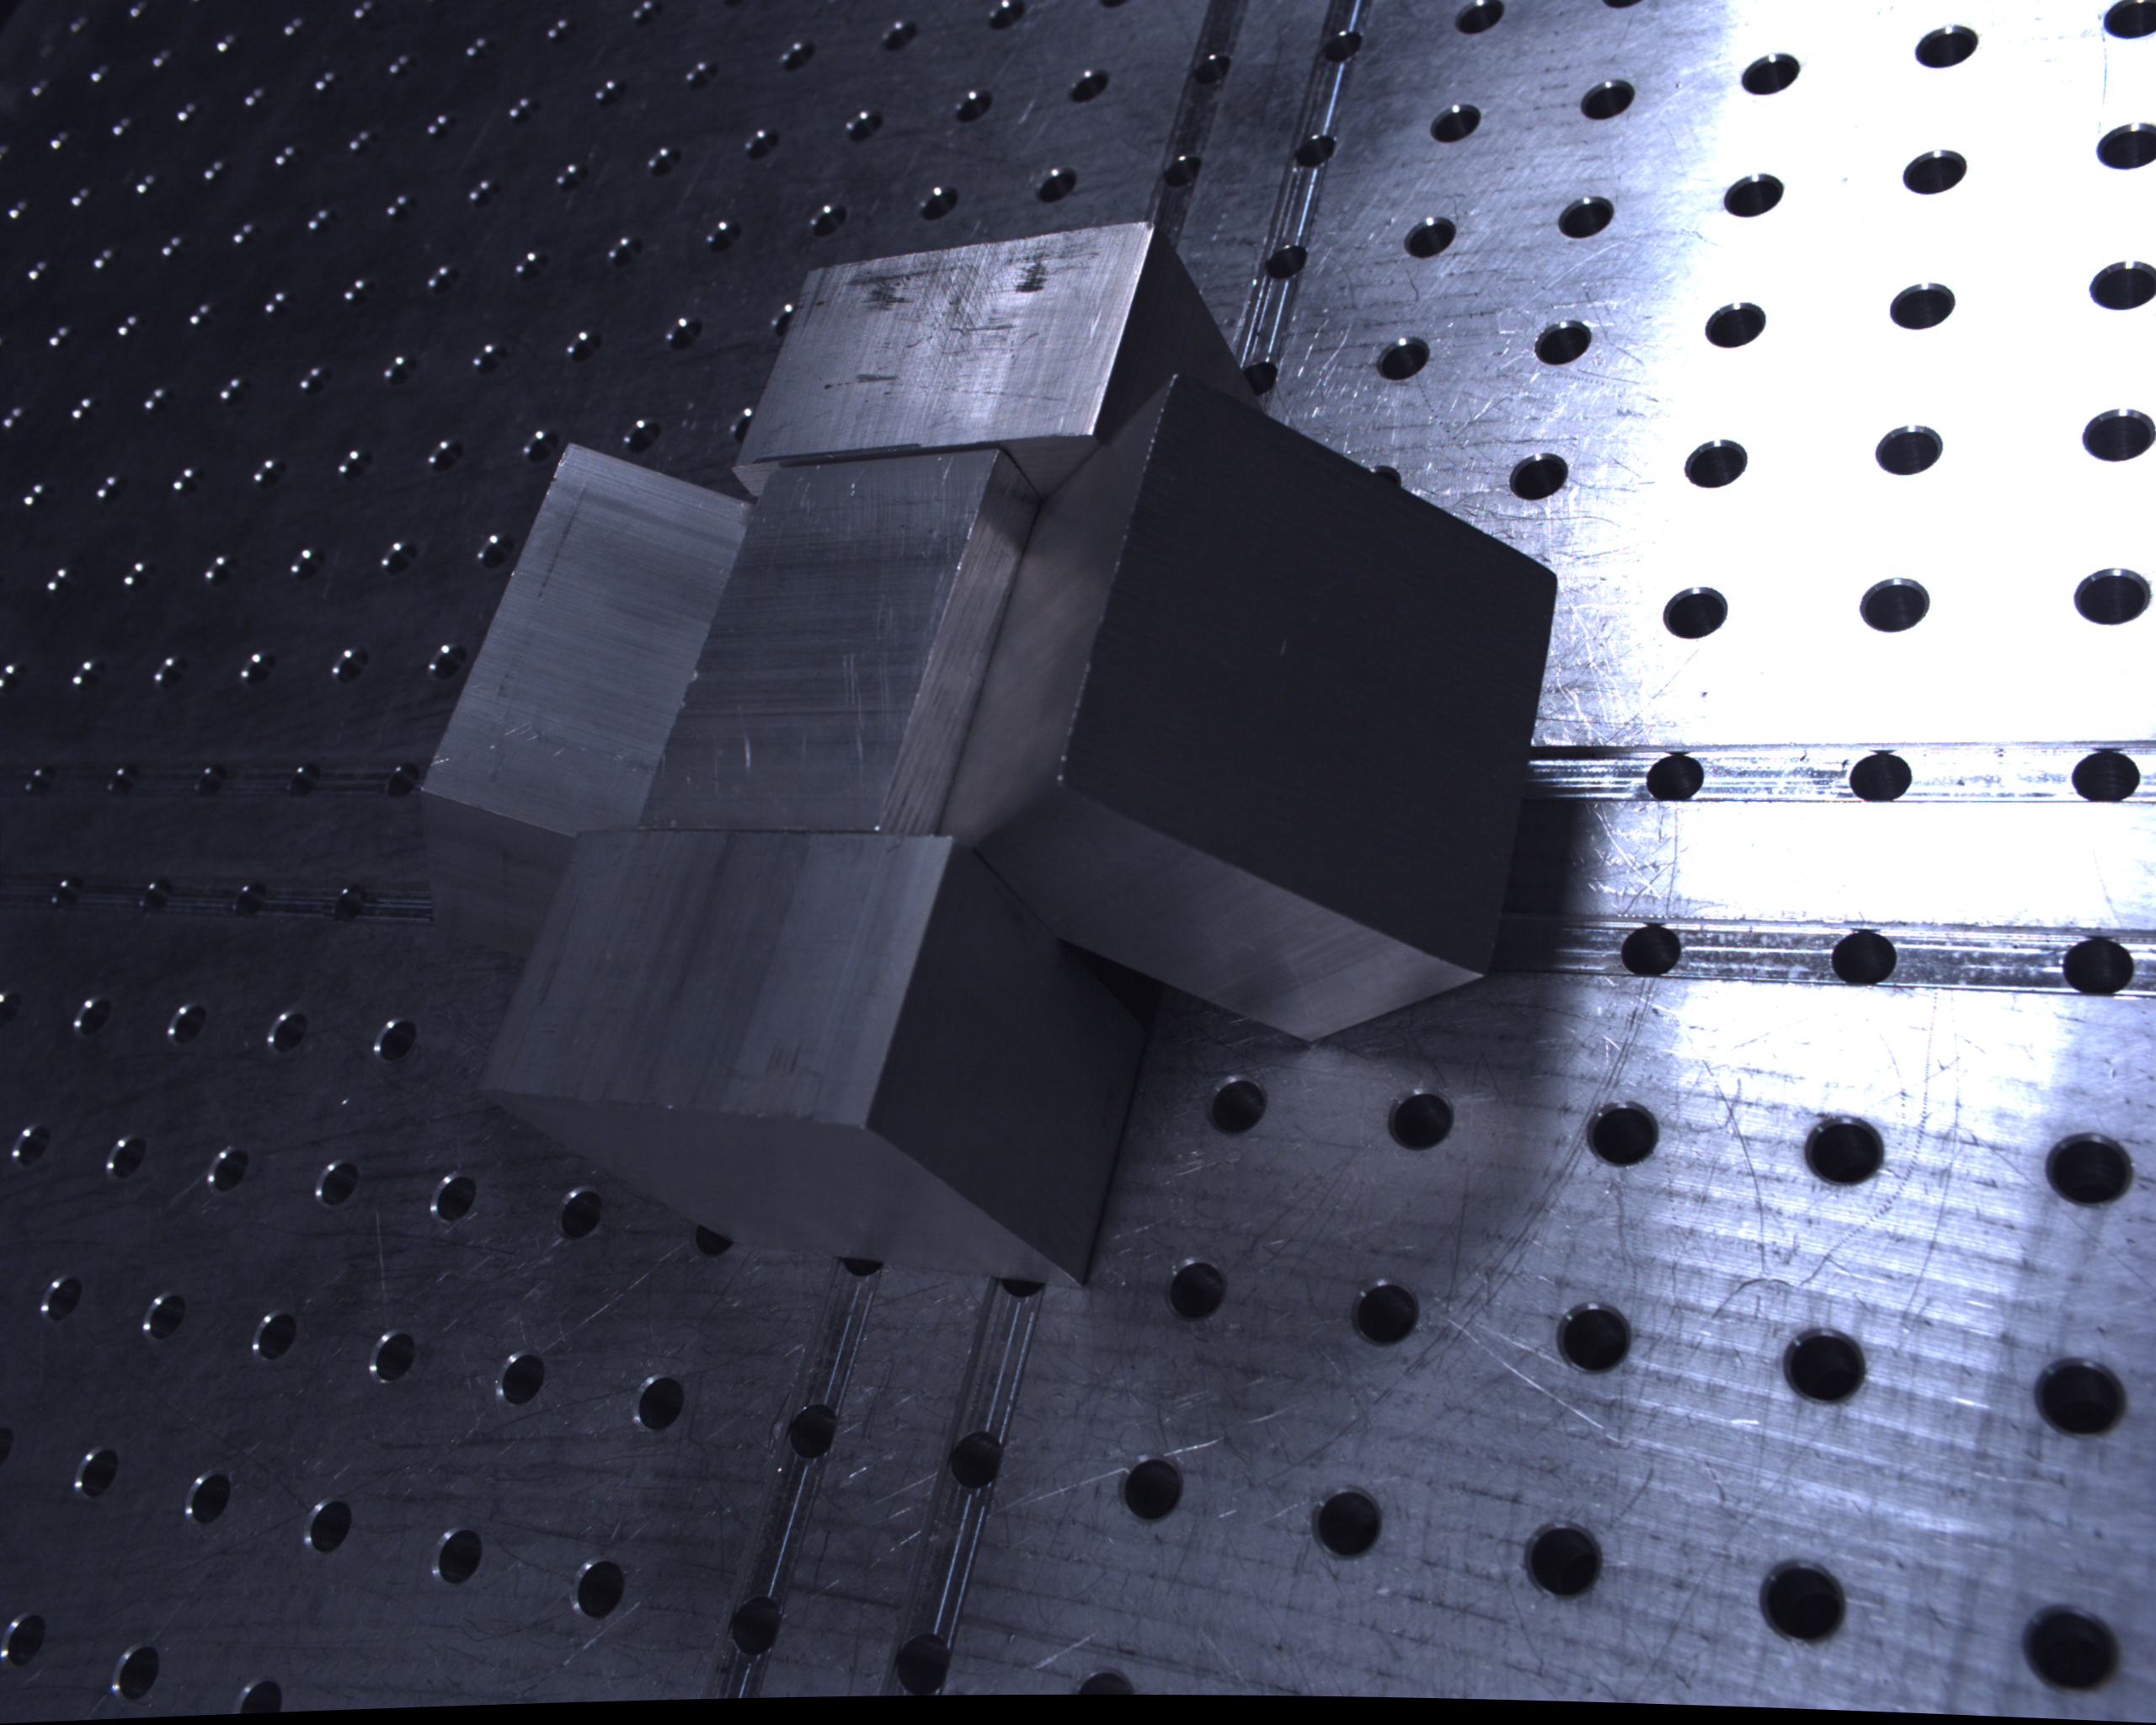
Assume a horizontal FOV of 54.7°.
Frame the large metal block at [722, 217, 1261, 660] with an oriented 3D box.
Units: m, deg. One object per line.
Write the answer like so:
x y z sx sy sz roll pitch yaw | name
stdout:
-0.010 -0.079 0.424 0.080 0.080 0.050 1 63 28 | large metal block

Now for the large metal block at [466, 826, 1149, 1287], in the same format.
-0.045 0.035 0.372 0.080 0.080 0.050 1 63 28 | large metal block

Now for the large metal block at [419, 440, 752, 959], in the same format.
-0.094 -0.025 0.428 0.050 0.080 0.080 18 66 -7 | large metal block

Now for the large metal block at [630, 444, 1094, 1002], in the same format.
-0.030 -0.021 0.399 0.050 0.080 0.080 1 62 28 | large metal block

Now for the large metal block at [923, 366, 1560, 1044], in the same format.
0.030 -0.024 0.360 0.050 0.080 0.080 -32 38 58 | large metal block
